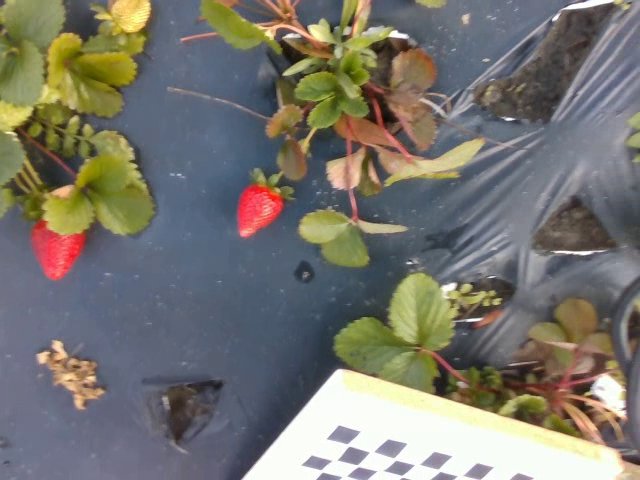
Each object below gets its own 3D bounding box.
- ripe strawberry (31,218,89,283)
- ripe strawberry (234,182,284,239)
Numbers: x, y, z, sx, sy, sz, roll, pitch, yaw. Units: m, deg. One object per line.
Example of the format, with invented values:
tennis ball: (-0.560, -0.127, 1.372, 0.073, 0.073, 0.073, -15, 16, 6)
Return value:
ripe strawberry: (-0.205, 0.006, 0.743, 0.050, 0.050, 0.046, 14, -29, -32)
ripe strawberry: (-0.051, -0.020, 0.756, 0.041, 0.052, 0.044, 16, -14, 42)
